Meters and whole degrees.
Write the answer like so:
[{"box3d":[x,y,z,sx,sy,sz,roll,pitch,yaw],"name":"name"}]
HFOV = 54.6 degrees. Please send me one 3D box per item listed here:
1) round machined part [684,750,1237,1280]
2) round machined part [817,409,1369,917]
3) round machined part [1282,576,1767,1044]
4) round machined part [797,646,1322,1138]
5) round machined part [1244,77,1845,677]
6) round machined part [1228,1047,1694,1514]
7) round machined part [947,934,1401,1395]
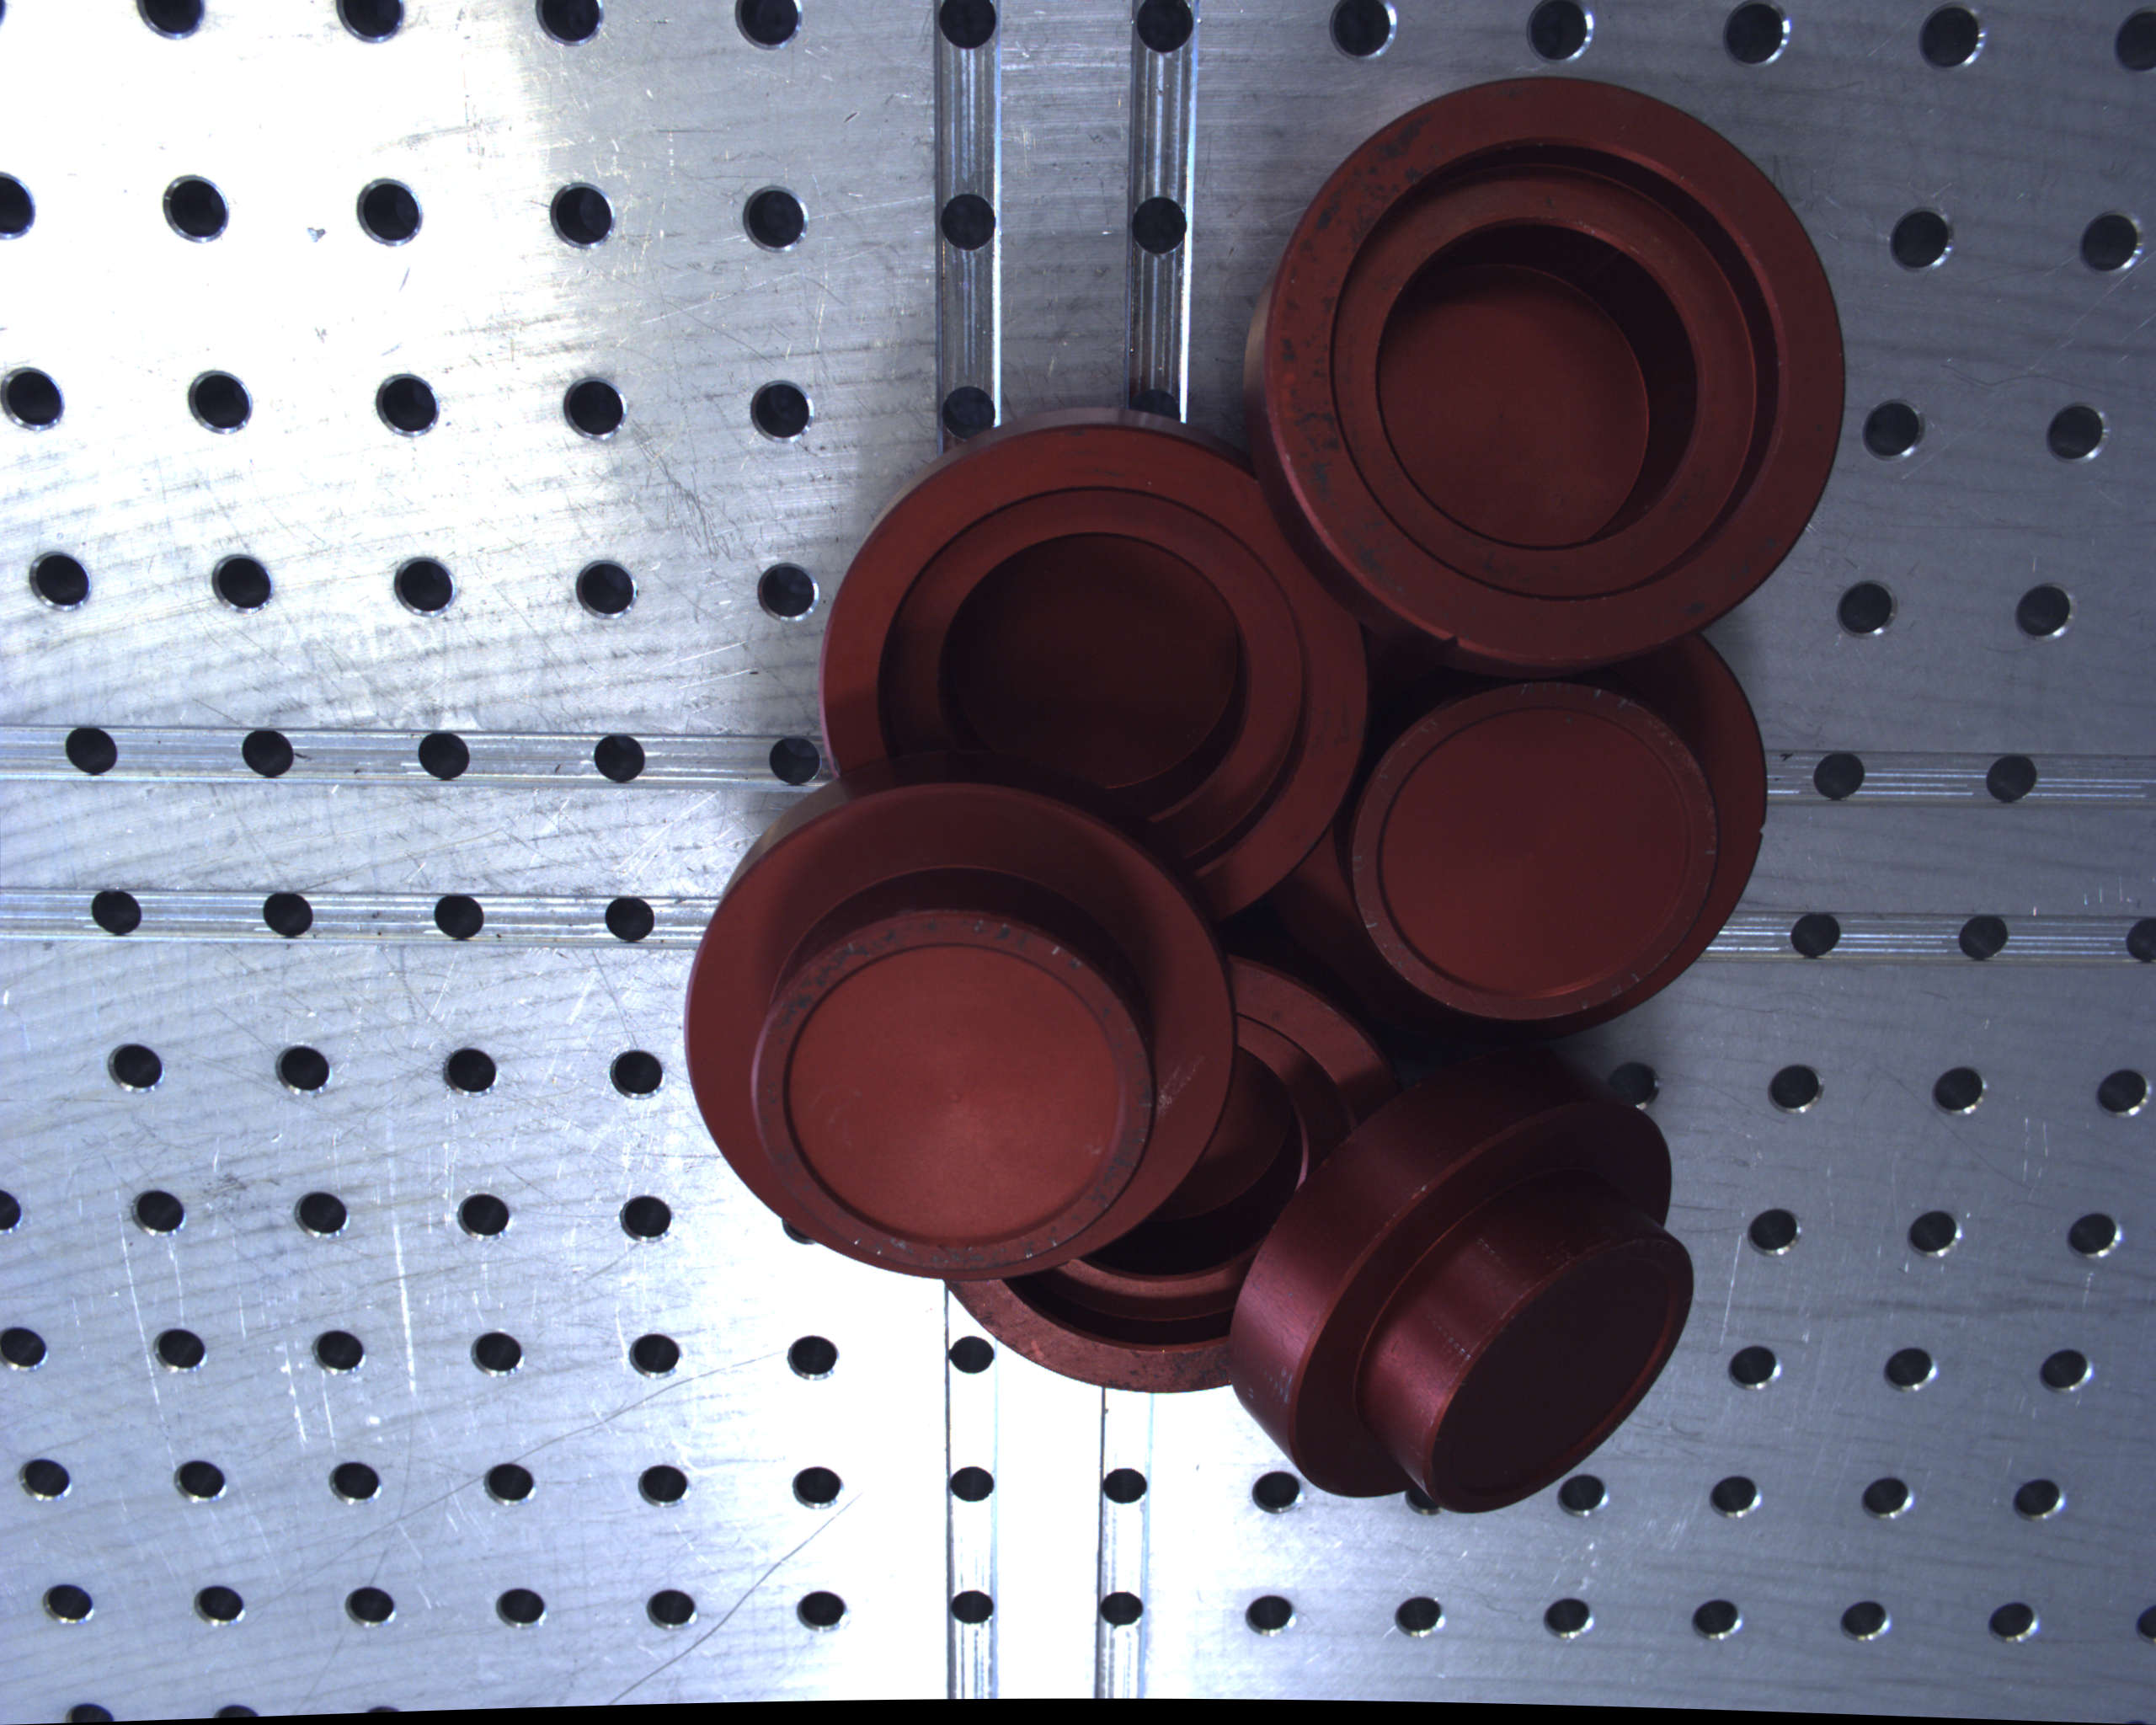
[{"box3d":[-0.021,0.032,0.371,0.099,0.042,0.097,0,110,0],"name":"round machined part"},{"box3d":[0.003,-0.036,0.391,0.099,0.042,0.097,0,110,0],"name":"round machined part"},{"box3d":[0.083,-0.008,0.401,0.099,0.042,0.097,0,110,0],"name":"round machined part"},{"box3d":[-0.004,0.005,0.406,0.099,0.042,0.097,0,110,0],"name":"round machined part"},{"box3d":[0.077,-0.081,0.363,0.099,0.042,0.097,0,89,-7],"name":"round machined part"},{"box3d":[0.081,0.088,0.411,0.099,0.042,0.097,-20,130,-26],"name":"round machined part"},{"box3d":[0.017,0.055,0.425,0.099,0.042,0.097,0,110,0],"name":"round machined part"}]
